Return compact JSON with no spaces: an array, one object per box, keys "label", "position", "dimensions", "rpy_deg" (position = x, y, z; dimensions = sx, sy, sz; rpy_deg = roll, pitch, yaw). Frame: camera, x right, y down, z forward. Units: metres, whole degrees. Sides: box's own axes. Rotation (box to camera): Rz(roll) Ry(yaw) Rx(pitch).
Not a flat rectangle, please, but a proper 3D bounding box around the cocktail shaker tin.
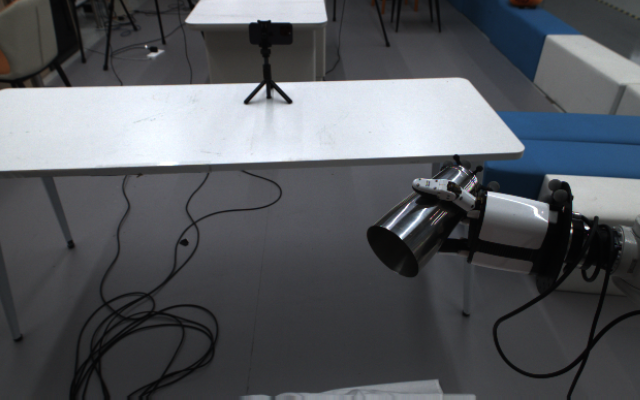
[{"label":"cocktail shaker tin","position":[0.158,0.017,0.702],"dimensions":[0.170,0.093,0.093],"rpy_deg":[-39,50,-23]}]
